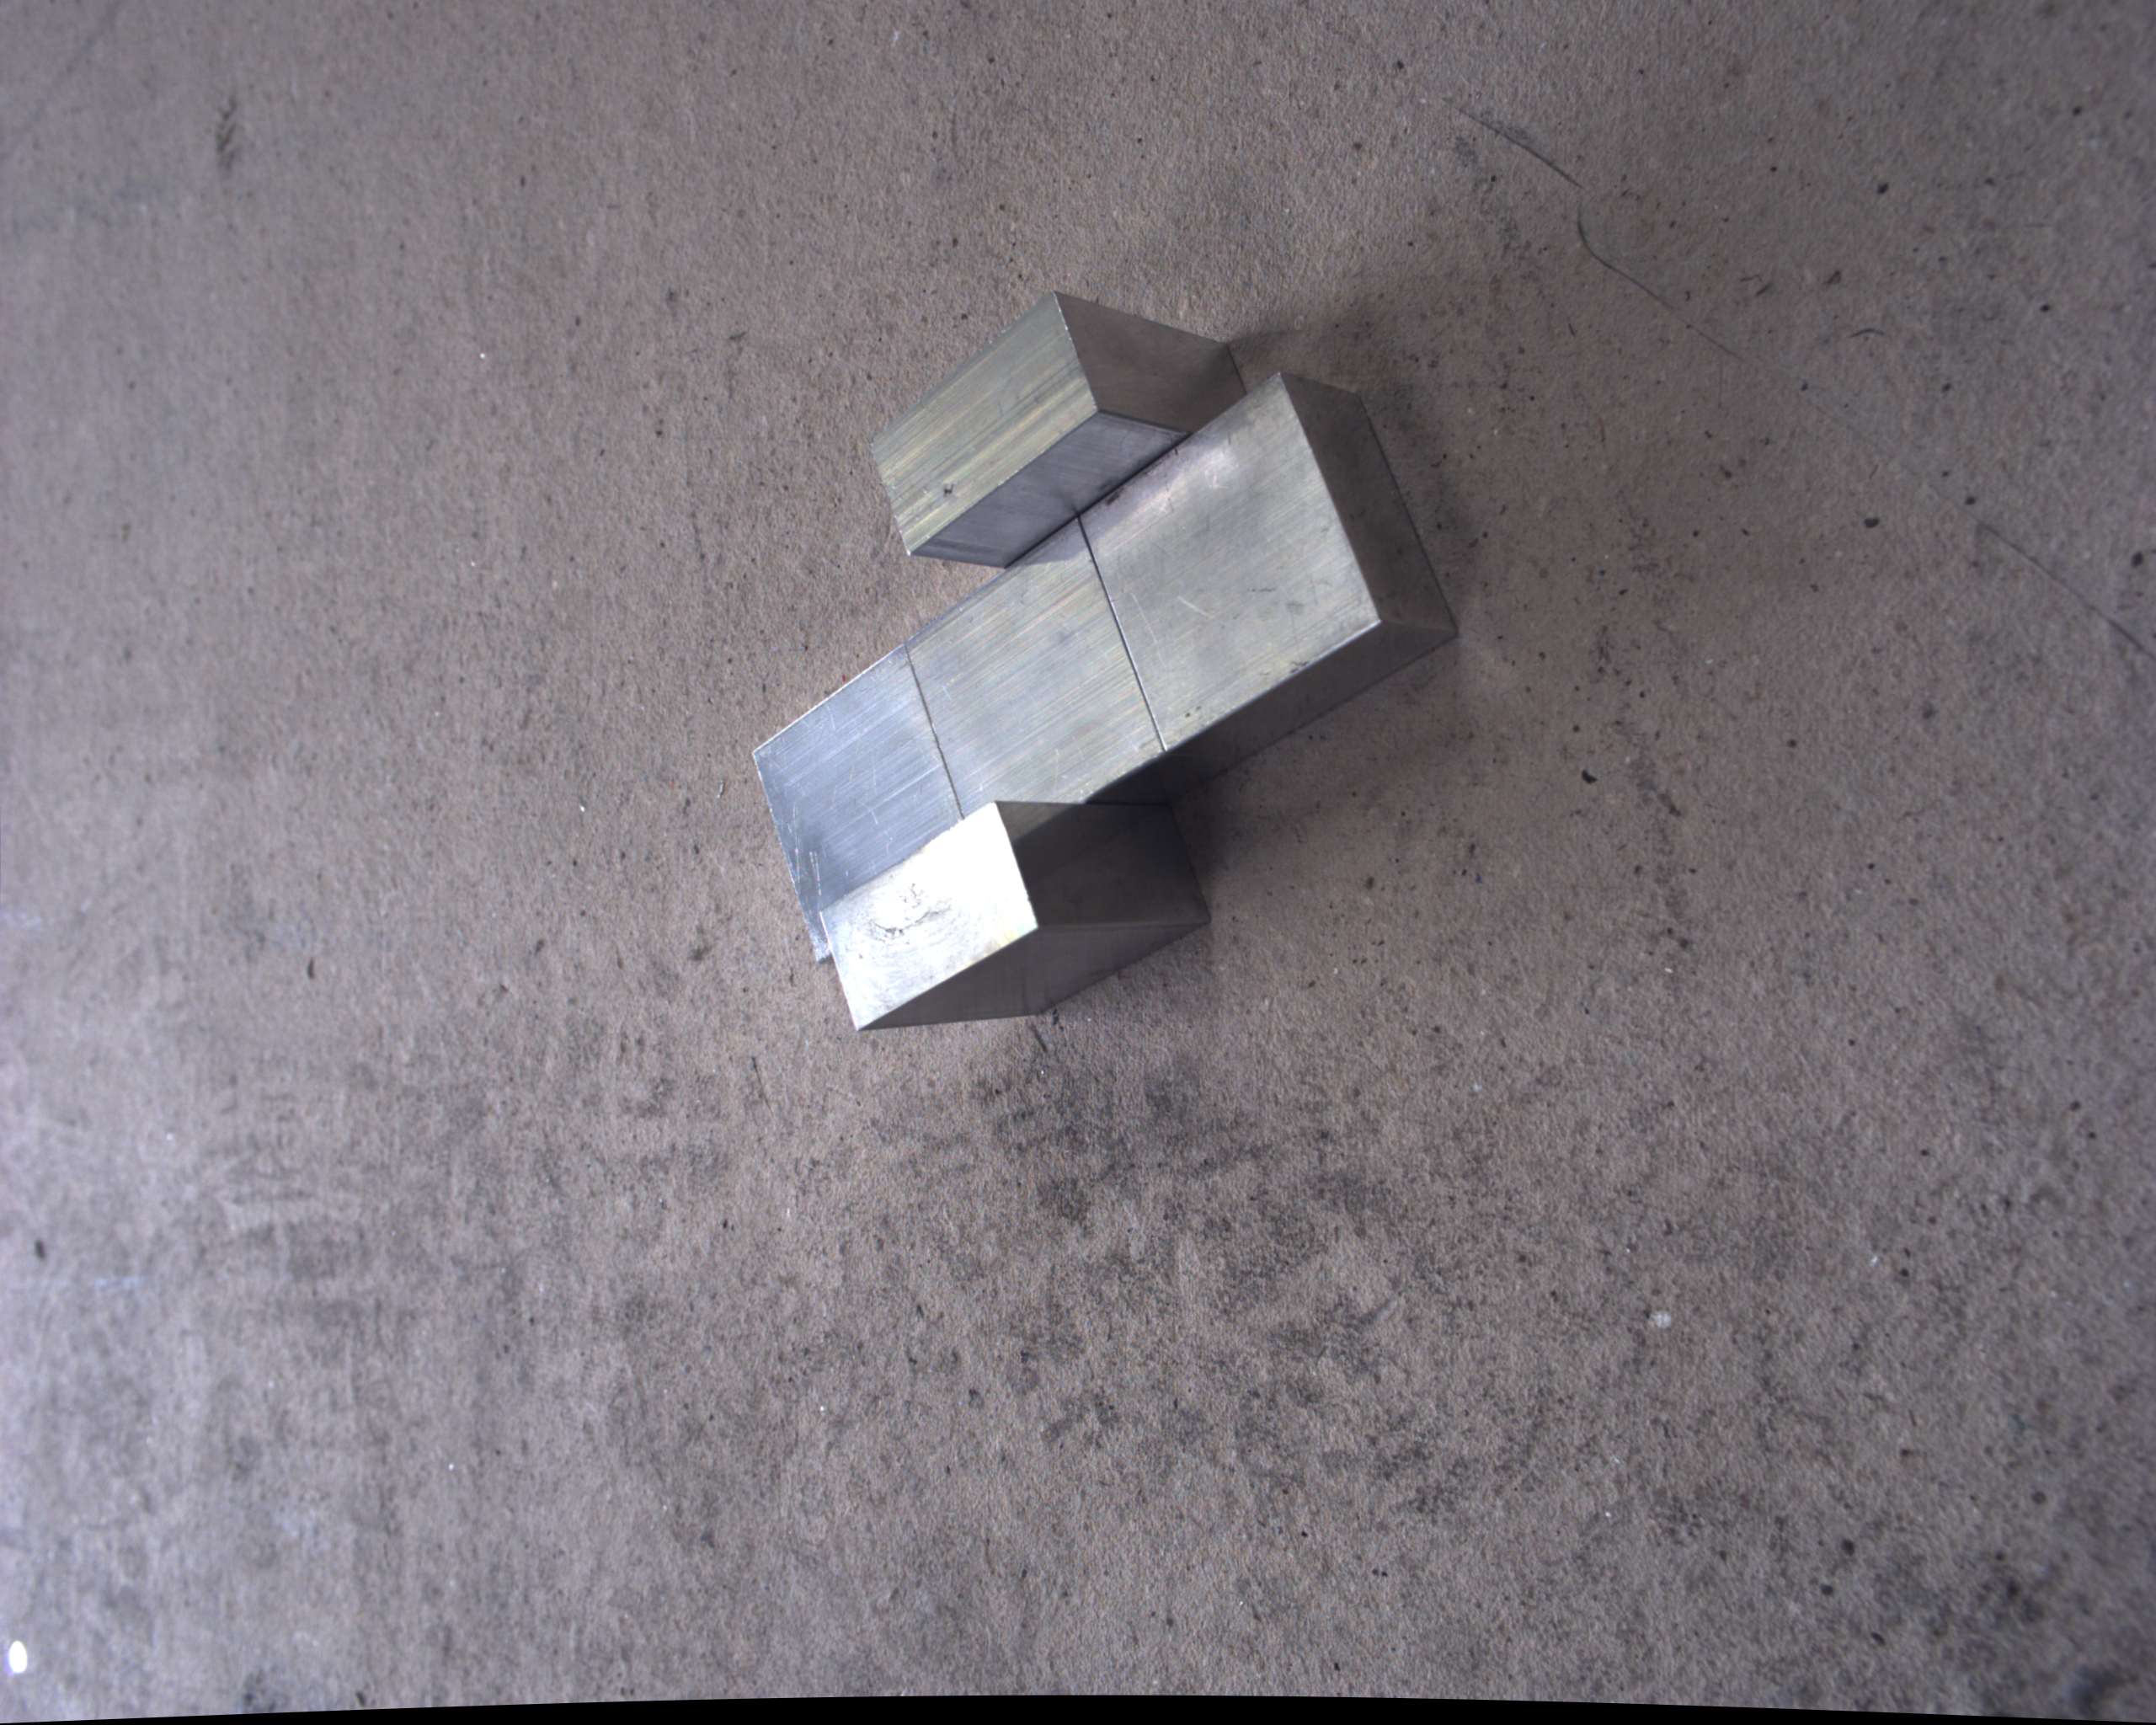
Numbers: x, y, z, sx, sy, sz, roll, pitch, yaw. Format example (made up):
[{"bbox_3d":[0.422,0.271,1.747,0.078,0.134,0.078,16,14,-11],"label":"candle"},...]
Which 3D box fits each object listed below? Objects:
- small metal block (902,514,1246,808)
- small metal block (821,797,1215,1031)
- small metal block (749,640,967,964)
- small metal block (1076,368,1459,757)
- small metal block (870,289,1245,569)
[{"bbox_3d":[-0.002,-0.032,0.408,0.050,0.025,0.050,-31,71,36],"label":"small metal block"},{"bbox_3d":[-0.011,0.010,0.400,0.050,0.050,0.025,-31,70,36],"label":"small metal block"},{"bbox_3d":[-0.037,-0.012,0.437,0.050,0.025,0.050,-31,71,36],"label":"small metal block"},{"bbox_3d":[0.033,-0.053,0.379,0.050,0.025,0.050,-31,71,36],"label":"small metal block"},{"bbox_3d":[-0.001,-0.078,0.392,0.050,0.050,0.025,-31,71,37],"label":"small metal block"}]
